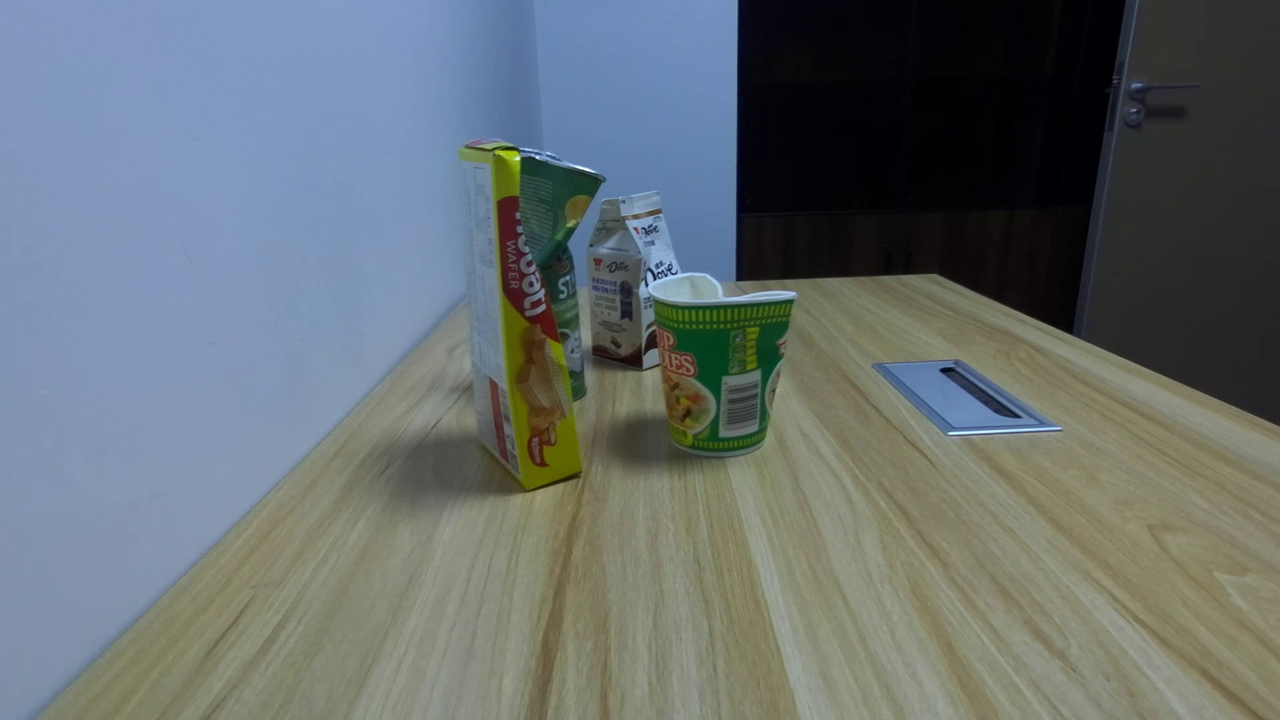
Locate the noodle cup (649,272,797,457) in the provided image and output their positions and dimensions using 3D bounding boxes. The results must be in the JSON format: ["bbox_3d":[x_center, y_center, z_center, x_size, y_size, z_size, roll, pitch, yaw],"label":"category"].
[{"bbox_3d":[0.050,0.003,0.483,0.087,0.109,0.093,-7,18,-15],"label":"noodle cup"}]

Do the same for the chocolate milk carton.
[{"bbox_3d":[0.002,-0.080,0.671,0.085,0.155,0.072,-20,27,-41],"label":"chocolate milk carton"}]

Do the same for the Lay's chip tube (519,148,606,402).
[{"bbox_3d":[-0.071,-0.065,0.570,0.071,0.199,0.079,0,18,-18],"label":"Lay's chip tube"}]
